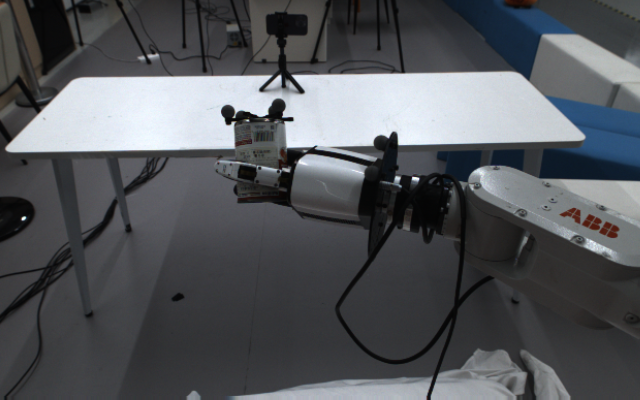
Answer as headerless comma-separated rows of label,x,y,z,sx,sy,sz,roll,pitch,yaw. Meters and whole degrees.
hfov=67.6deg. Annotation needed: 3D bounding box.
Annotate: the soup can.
soup can,-0.074,-0.047,0.617,0.067,0.101,0.067,-3,-1,0
